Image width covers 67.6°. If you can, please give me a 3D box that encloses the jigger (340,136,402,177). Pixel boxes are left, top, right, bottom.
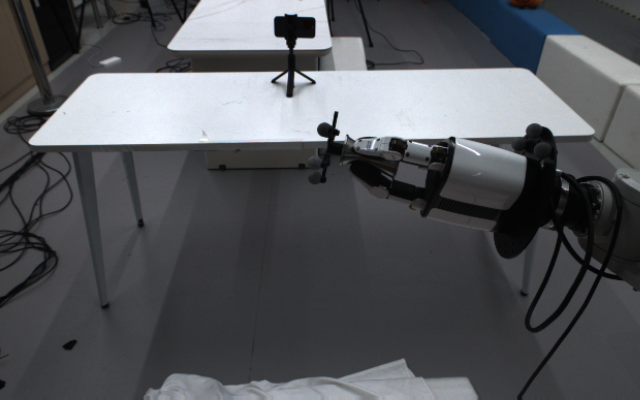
[{"bbox_3d":[0.067,-0.059,0.591,0.071,0.043,0.043,13,36,3],"label":"jigger"}]
